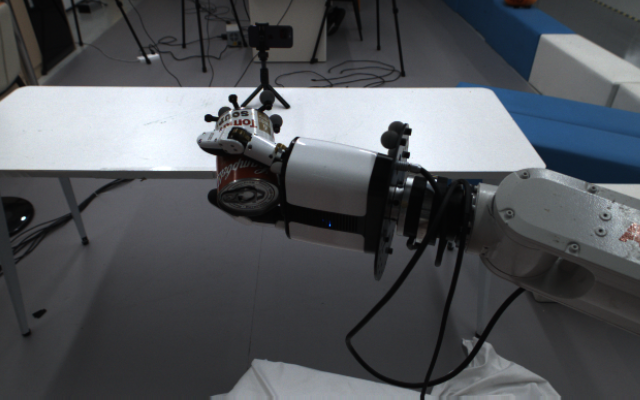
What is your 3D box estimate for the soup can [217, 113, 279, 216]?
[{"bbox_3d":[-0.079,-0.042,0.530,0.067,0.067,0.101,-5,57,-10],"label":"soup can"}]
